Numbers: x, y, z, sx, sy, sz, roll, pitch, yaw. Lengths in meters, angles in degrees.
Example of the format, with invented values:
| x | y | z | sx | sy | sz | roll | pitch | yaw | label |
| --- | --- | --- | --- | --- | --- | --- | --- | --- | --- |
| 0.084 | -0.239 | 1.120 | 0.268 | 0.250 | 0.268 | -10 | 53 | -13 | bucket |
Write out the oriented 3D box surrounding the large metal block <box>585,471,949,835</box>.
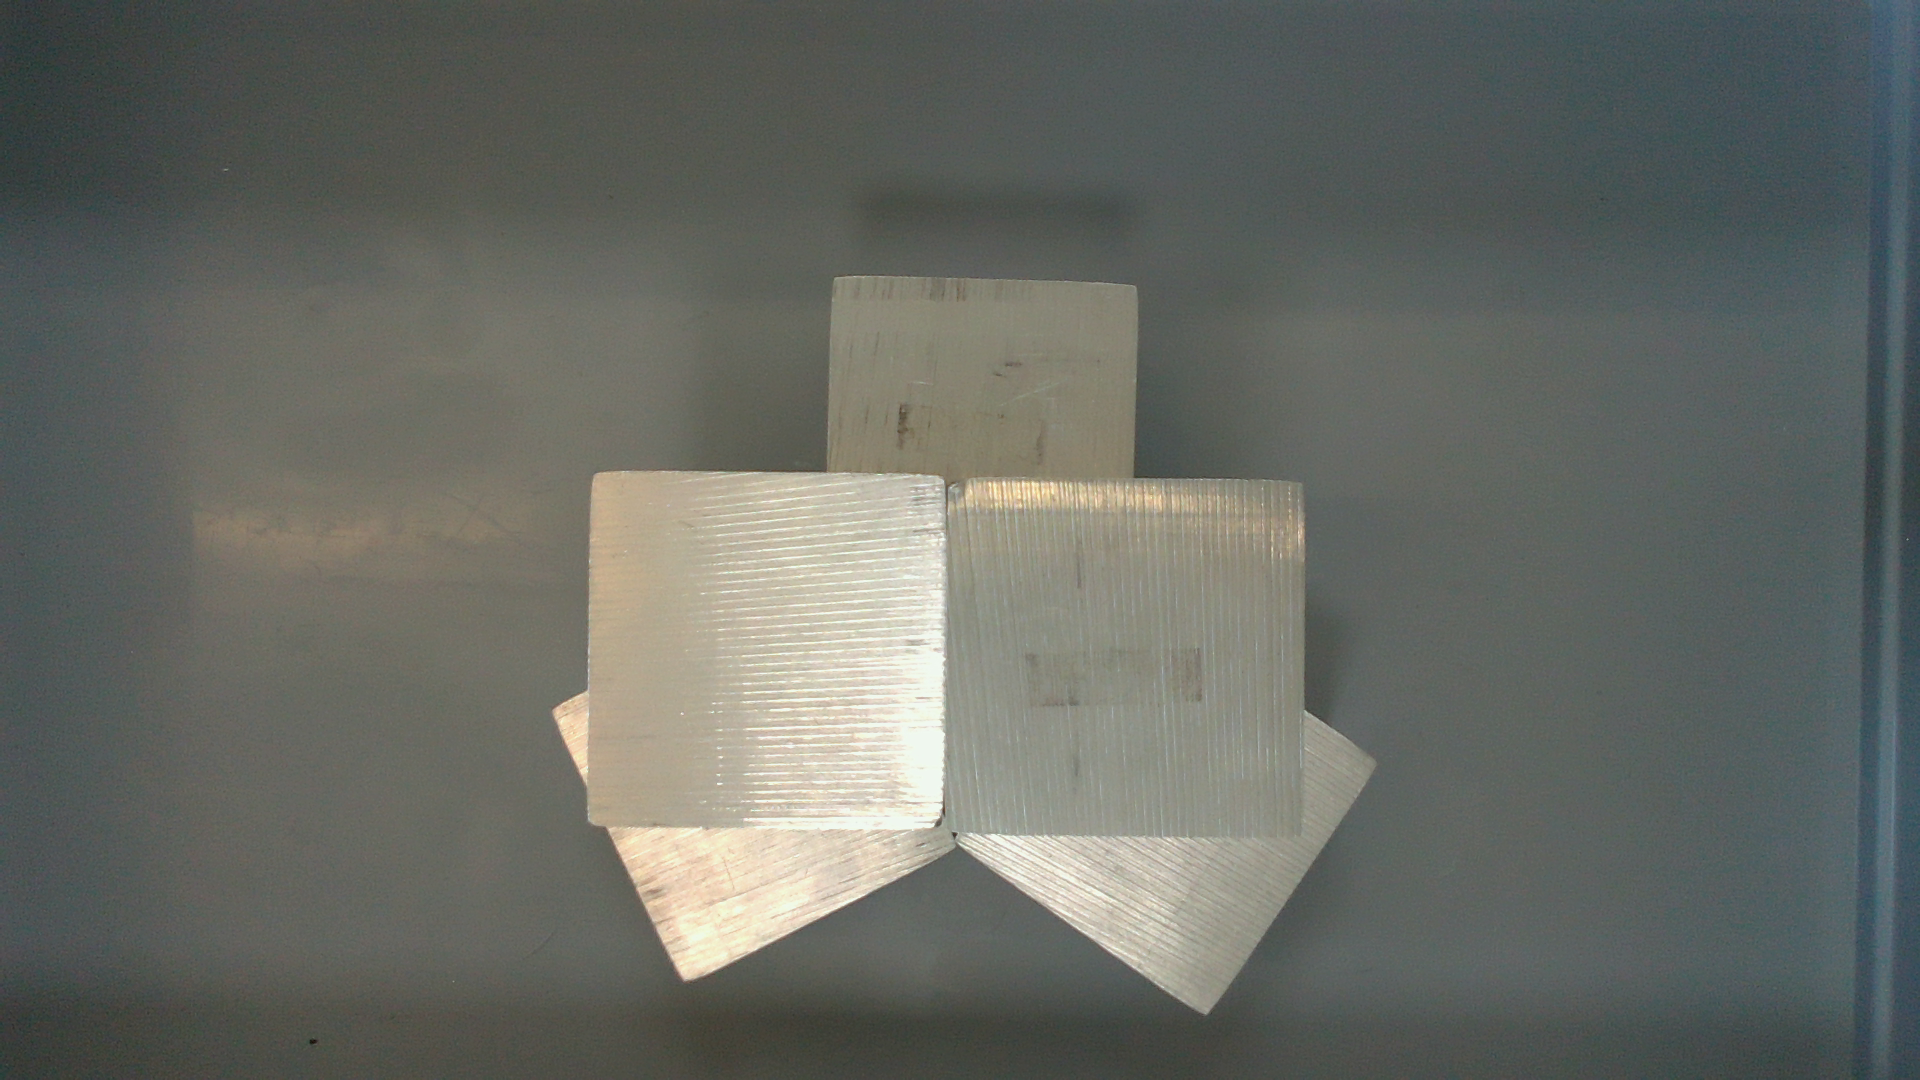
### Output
| x | y | z | sx | sy | sz | roll | pitch | yaw | label |
| --- | --- | --- | --- | --- | --- | --- | --- | --- | --- |
| -0.043 | 0.025 | 0.331 | 0.080 | 0.050 | 0.080 | 1 | 90 | 0 | large metal block |

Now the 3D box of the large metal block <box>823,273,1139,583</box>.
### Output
| x | y | z | sx | sy | sz | roll | pitch | yaw | label |
| --- | --- | --- | --- | --- | --- | --- | --- | --- | --- |
| 0.006 | -0.028 | 0.382 | 0.080 | 0.050 | 0.080 | 1 | 90 | 0 | large metal block |

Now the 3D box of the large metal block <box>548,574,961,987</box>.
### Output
| x | y | z | sx | sy | sz | roll | pitch | yaw | label |
| --- | --- | --- | --- | --- | --- | --- | --- | --- | --- |
| -0.053 | 0.062 | 0.382 | 0.080 | 0.050 | 0.080 | -26 | 90 | 0 | large metal block |

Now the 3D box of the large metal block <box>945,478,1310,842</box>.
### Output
| x | y | z | sx | sy | sz | roll | pitch | yaw | label |
| --- | --- | --- | --- | --- | --- | --- | --- | --- | --- |
| 0.037 | 0.027 | 0.330 | 0.080 | 0.050 | 0.080 | 1 | 90 | 0 | large metal block |

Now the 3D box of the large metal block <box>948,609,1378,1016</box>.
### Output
| x | y | z | sx | sy | sz | roll | pitch | yaw | label |
| --- | --- | --- | --- | --- | --- | --- | --- | --- | --- |
| 0.053 | 0.068 | 0.381 | 0.080 | 0.050 | 0.080 | 34 | 90 | 0 | large metal block |
